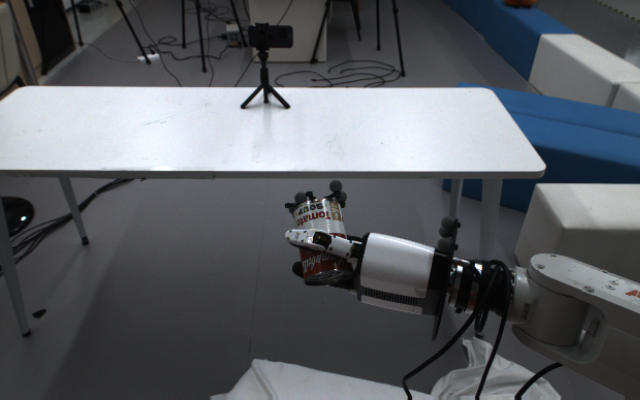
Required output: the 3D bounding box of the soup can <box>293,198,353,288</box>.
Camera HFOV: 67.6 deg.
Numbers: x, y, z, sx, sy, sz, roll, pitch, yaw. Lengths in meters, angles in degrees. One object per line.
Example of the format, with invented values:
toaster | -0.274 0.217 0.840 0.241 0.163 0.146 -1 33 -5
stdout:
soup can | 0.005 0.057 0.649 0.067 0.067 0.101 -6 68 -12
